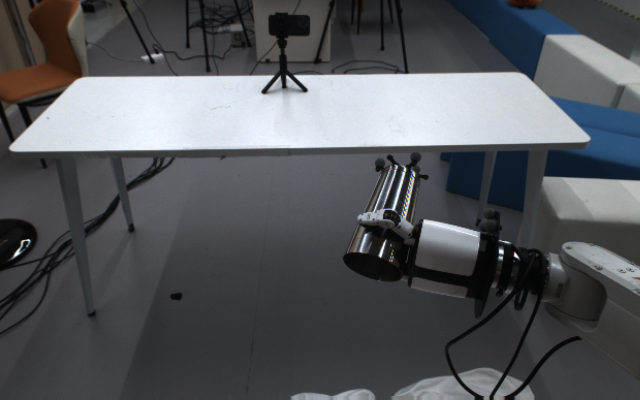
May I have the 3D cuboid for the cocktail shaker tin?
[{"bbox_3d":[0.103,0.031,0.757,0.093,0.093,0.170,14,61,16],"label":"cocktail shaker tin"}]
